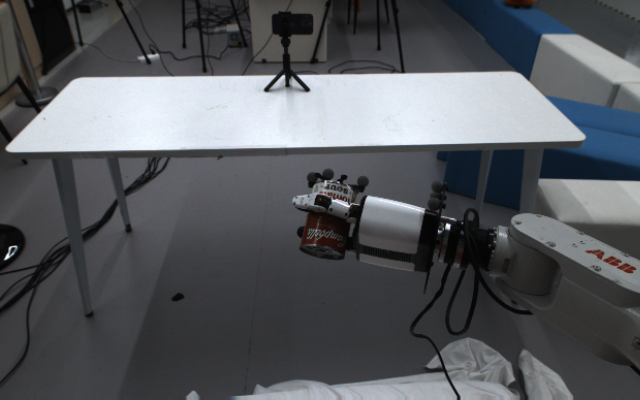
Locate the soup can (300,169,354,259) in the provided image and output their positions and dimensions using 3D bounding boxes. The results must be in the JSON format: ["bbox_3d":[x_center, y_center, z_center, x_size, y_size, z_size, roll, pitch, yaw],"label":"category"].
[{"bbox_3d":[0.013,0.030,0.707,0.067,0.067,0.101,9,71,9],"label":"soup can"}]
